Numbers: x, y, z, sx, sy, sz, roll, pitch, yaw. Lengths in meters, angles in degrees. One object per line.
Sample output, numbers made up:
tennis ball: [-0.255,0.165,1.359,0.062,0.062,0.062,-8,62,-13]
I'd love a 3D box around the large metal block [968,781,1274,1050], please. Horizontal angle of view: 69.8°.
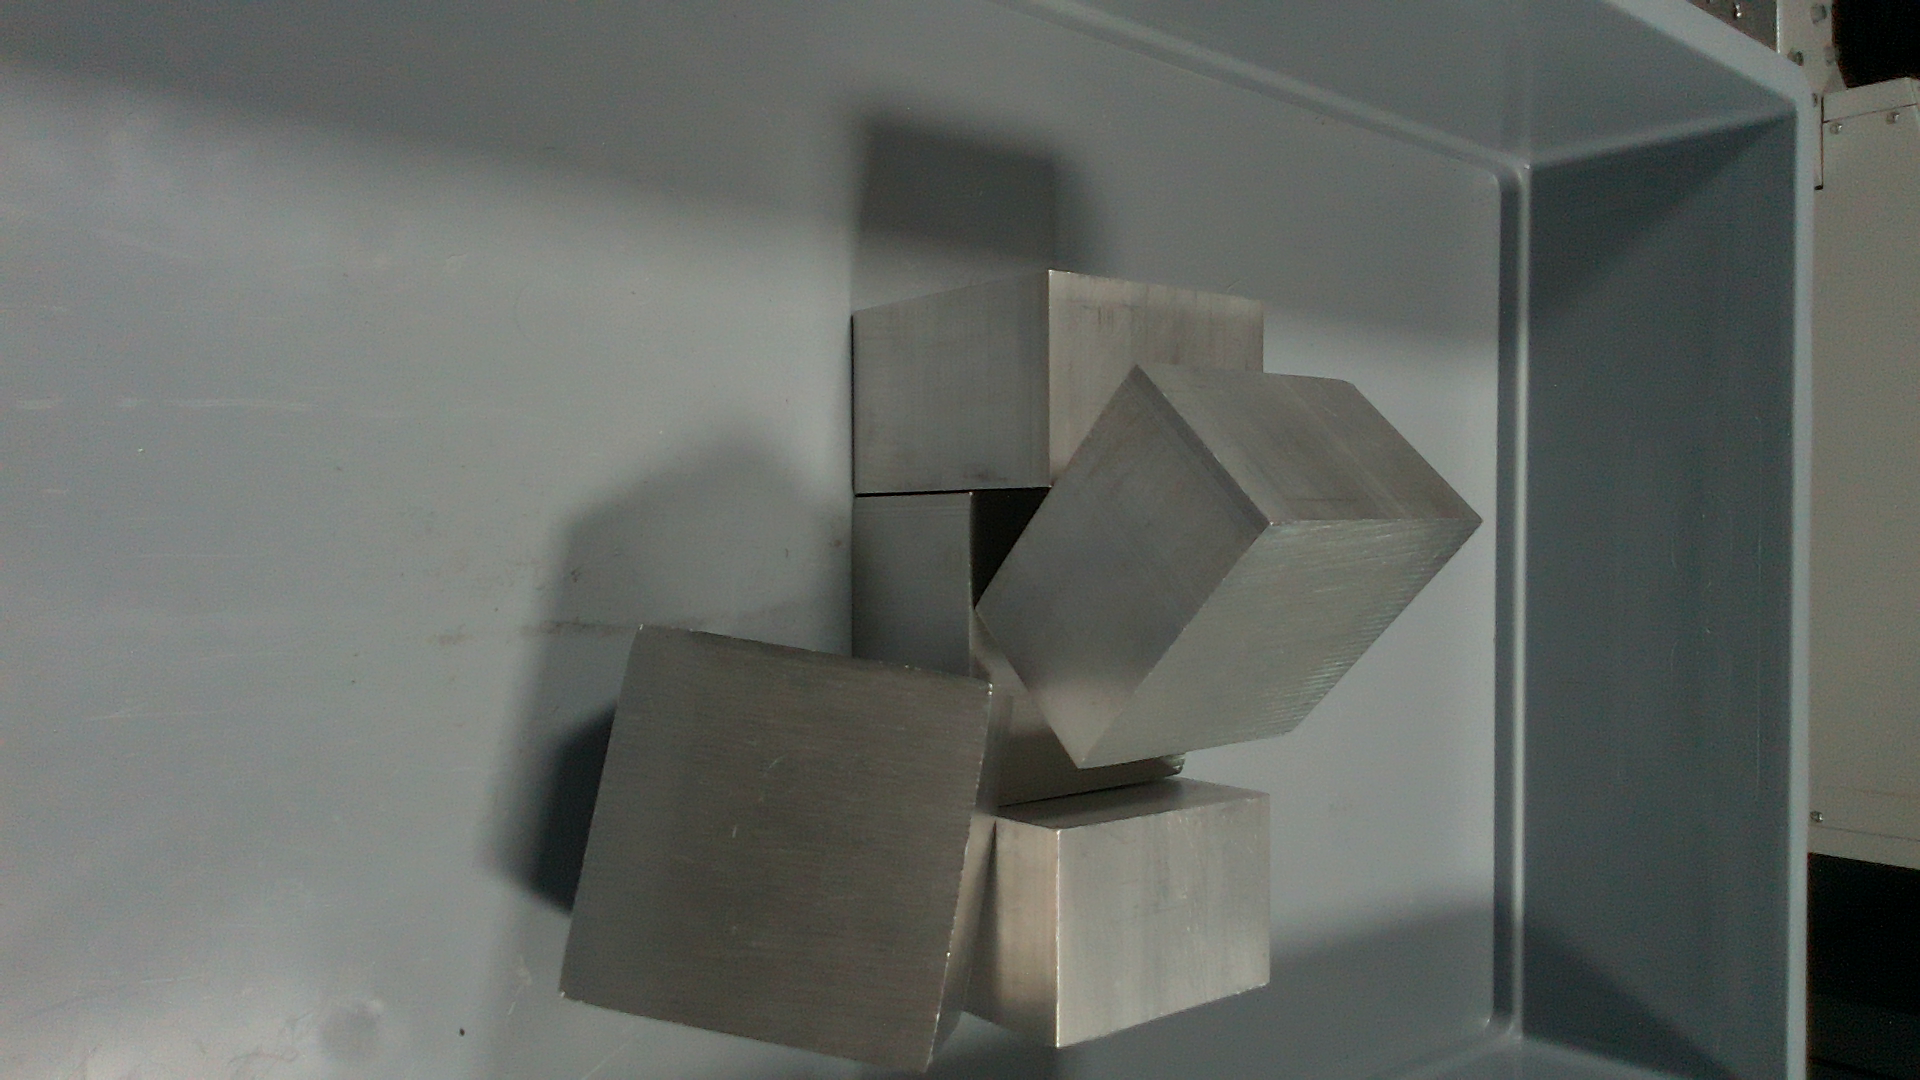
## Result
large metal block: [0.028,0.093,0.374,0.080,0.080,0.050,0,90,-40]

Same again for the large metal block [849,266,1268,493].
large metal block: [0.026,-0.039,0.372,0.080,0.080,0.050,-2,91,-40]

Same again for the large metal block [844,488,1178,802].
large metal block: [0.015,0.026,0.386,0.080,0.050,0.080,-1,91,-40]

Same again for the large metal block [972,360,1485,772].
large metal block: [0.063,0.006,0.331,0.080,0.080,0.050,-1,46,-40]

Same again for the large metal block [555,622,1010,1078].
large metal block: [-0.036,0.067,0.312,0.050,0.080,0.080,53,46,-79]
